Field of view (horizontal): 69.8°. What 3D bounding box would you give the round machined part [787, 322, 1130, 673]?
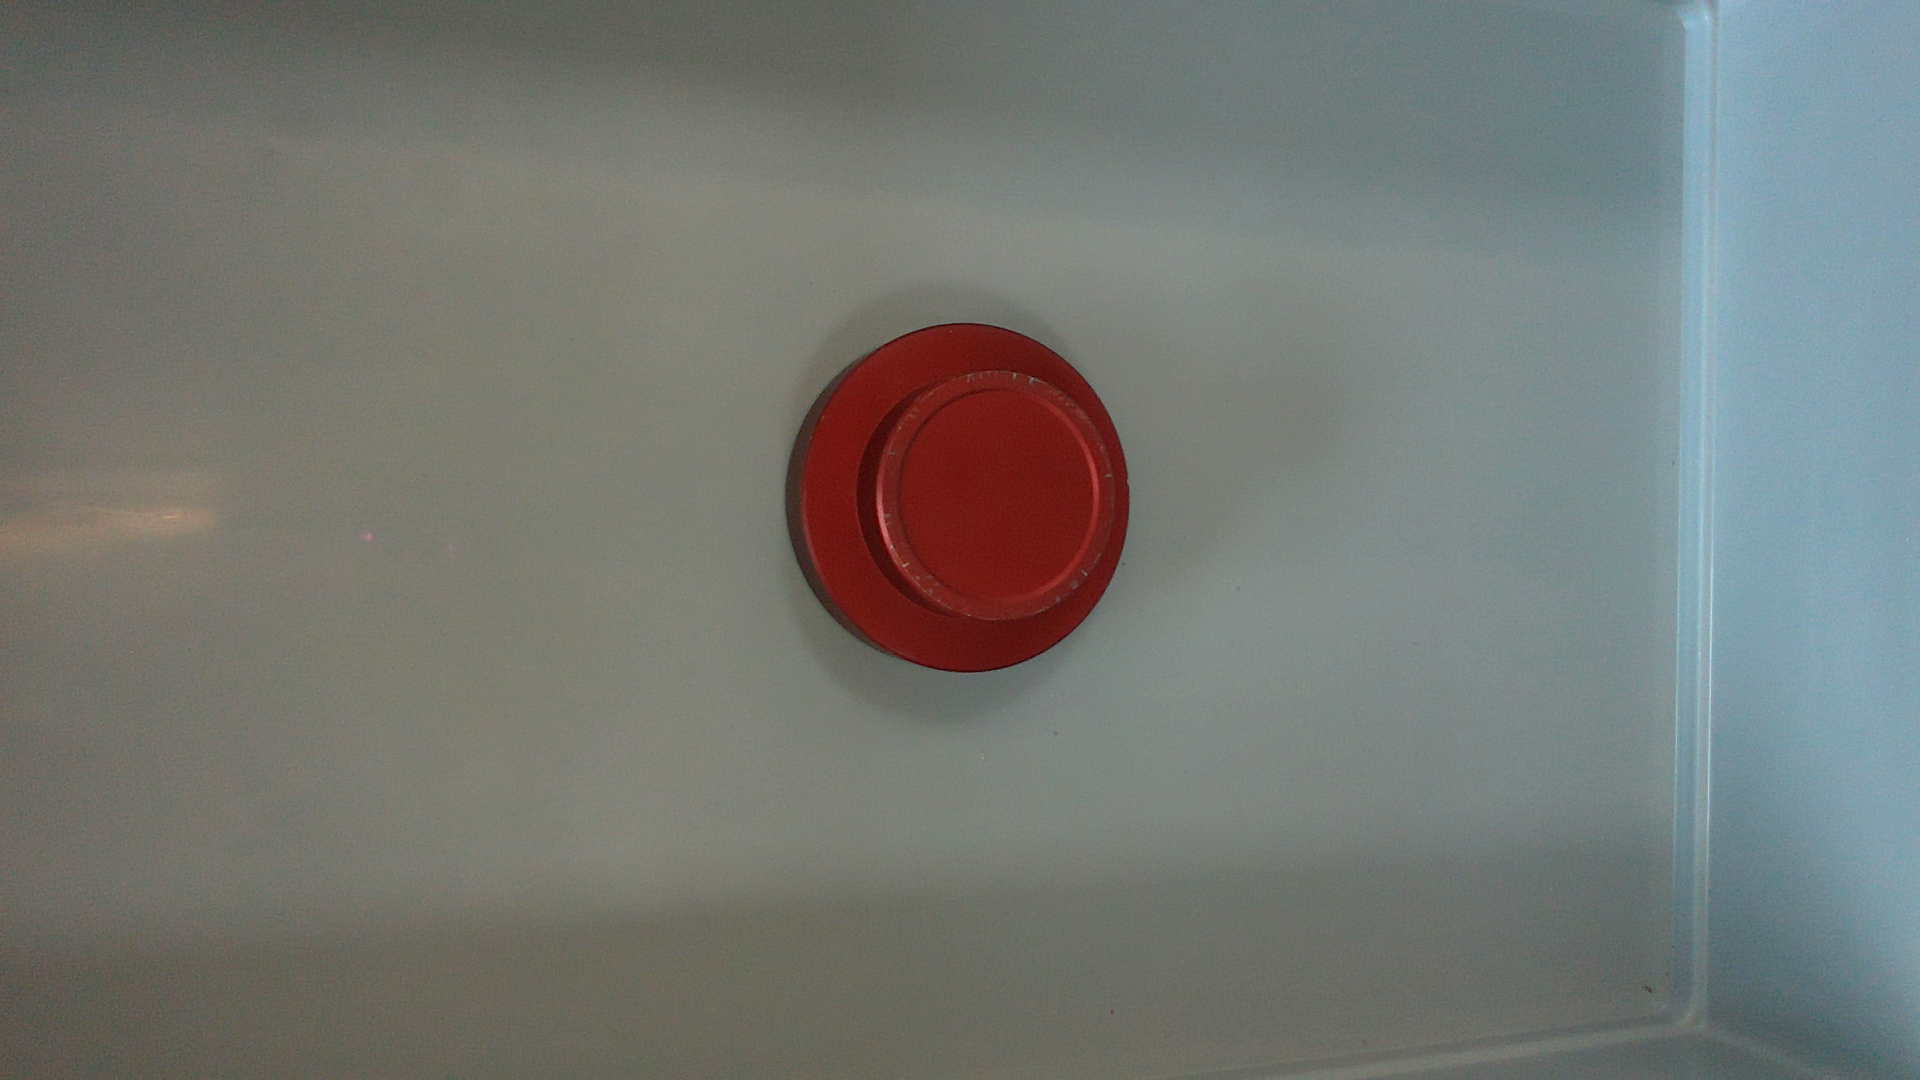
[{"bbox_3d":[0.004,-0.012,0.383,0.098,0.042,0.098,0,90,-20],"label":"round machined part"}]
